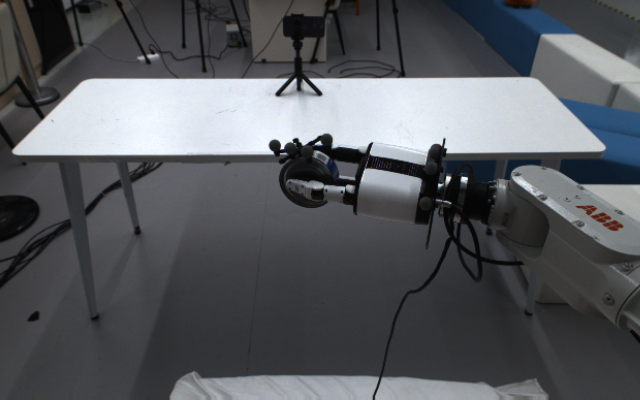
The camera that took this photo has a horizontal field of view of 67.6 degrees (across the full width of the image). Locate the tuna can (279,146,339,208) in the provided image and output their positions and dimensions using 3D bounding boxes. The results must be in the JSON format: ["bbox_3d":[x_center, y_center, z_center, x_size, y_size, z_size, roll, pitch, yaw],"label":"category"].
[{"bbox_3d":[-0.013,-0.028,0.717,0.085,0.085,0.034,10,33,11],"label":"tuna can"}]
